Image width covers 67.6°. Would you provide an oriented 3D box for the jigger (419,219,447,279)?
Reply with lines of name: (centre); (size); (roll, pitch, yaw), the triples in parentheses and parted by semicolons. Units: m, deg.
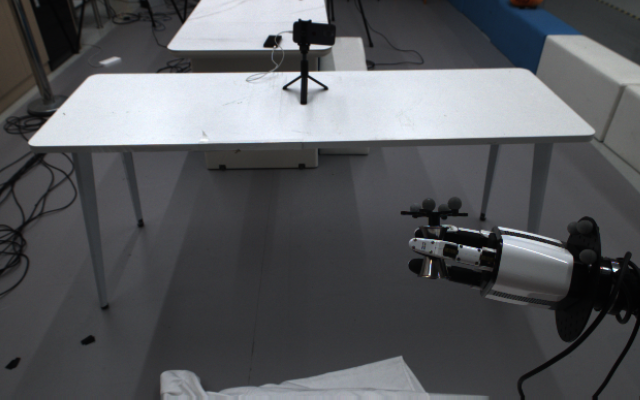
jigger: (0.152, 0.068, 0.651); (0.043, 0.071, 0.043); (1, -6, 0)
